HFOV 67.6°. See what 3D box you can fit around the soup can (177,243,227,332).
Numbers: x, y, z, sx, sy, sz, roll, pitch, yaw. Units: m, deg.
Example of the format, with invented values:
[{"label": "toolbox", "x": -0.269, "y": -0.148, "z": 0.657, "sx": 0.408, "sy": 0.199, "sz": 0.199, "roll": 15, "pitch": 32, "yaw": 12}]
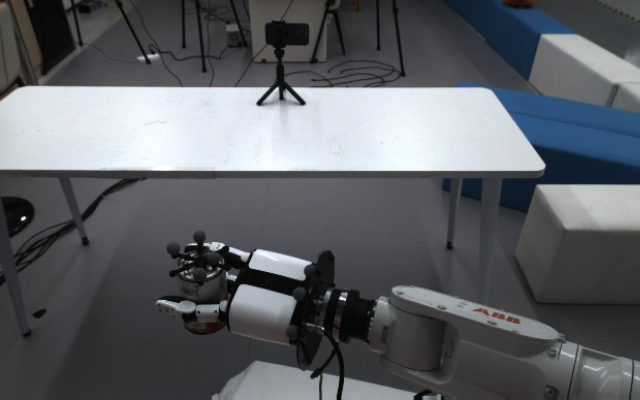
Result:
[{"label": "soup can", "x": -0.162, "y": 0.131, "z": 0.676, "sx": 0.067, "sy": 0.101, "sz": 0.067, "roll": 2, "pitch": 32, "yaw": -1}]
